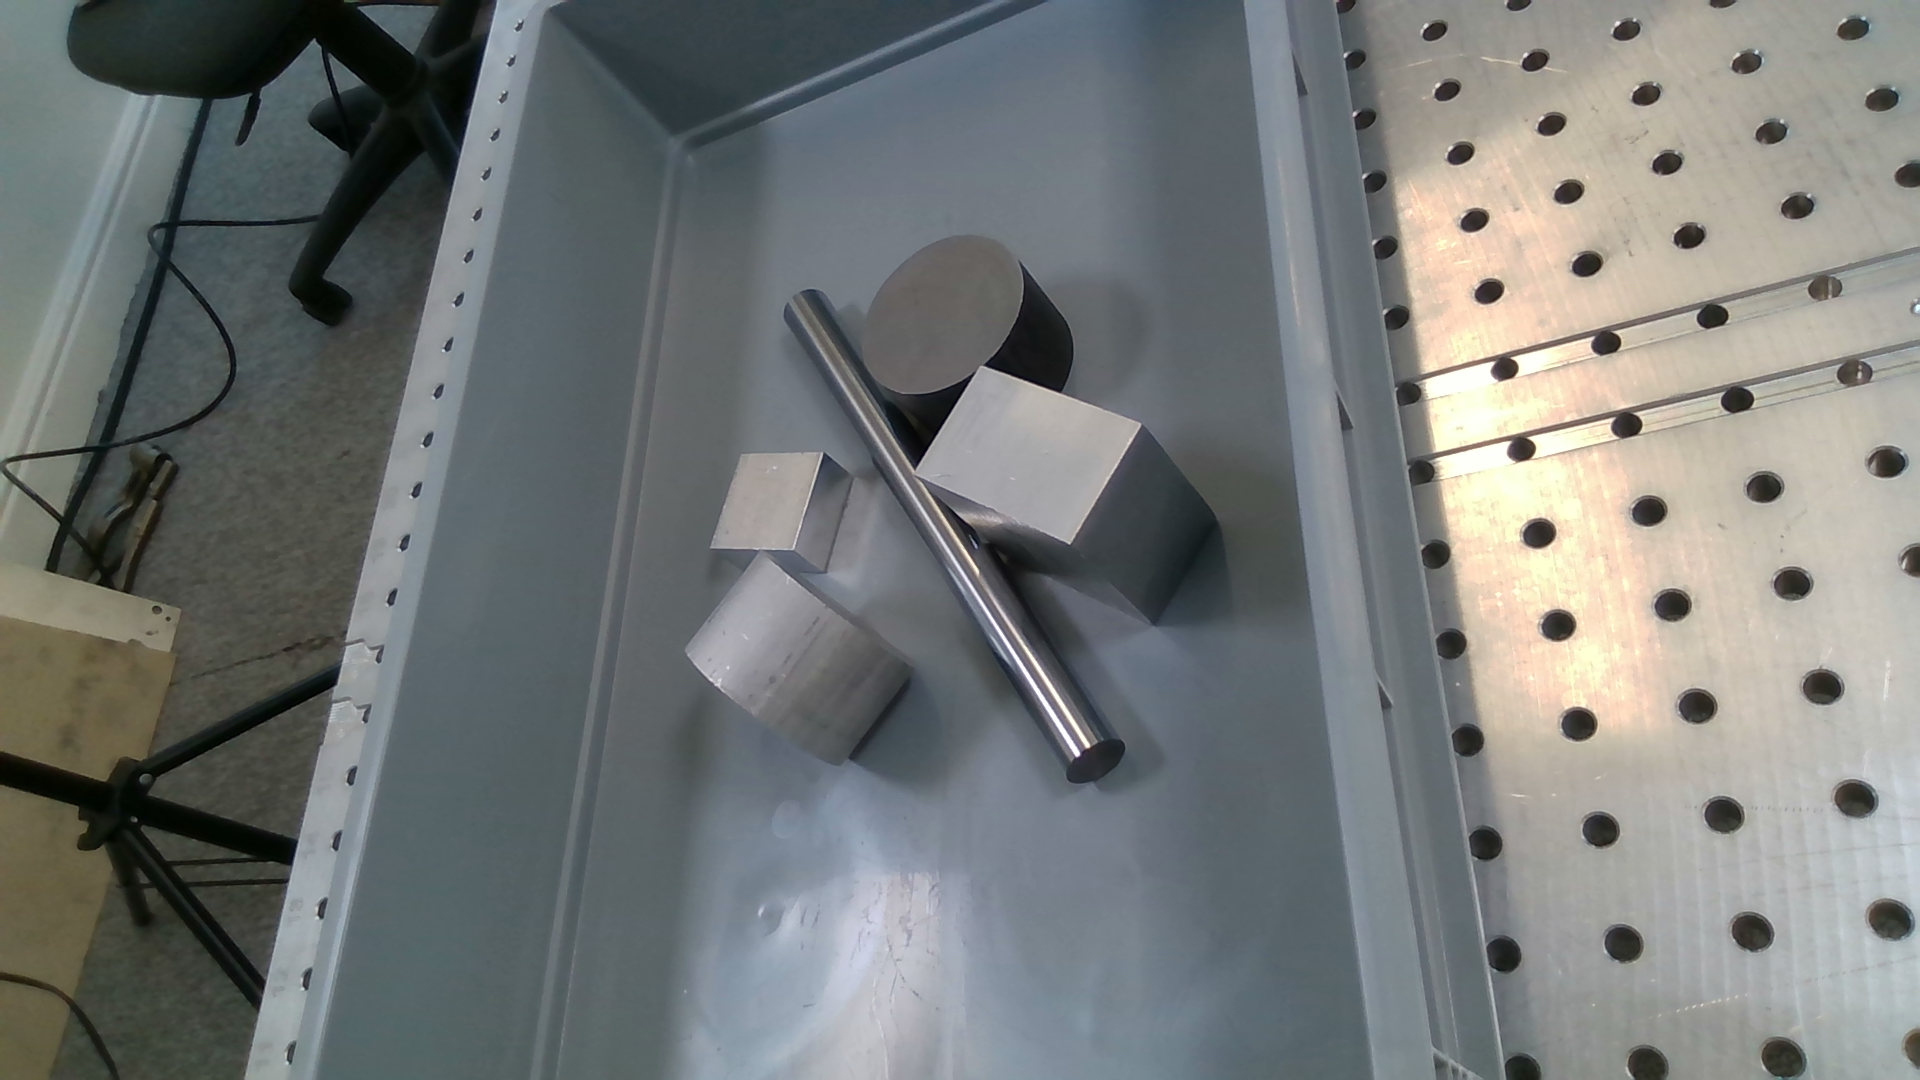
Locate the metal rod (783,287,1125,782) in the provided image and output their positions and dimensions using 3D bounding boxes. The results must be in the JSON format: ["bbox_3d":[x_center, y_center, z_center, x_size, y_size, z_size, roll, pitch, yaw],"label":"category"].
[{"bbox_3d":[-0.014,-0.018,0.602,0.025,0.025,0.299,-39,52,8],"label":"metal rod"}]

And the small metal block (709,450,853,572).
[{"bbox_3d":[-0.083,-0.013,0.643,0.050,0.025,0.050,1,66,32],"label":"small metal block"}]

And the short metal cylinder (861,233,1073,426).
[{"bbox_3d":[0.003,-0.088,0.613,0.080,0.050,0.080,-14,59,25],"label":"short metal cylinder"}]

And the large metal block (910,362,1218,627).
[{"bbox_3d":[0.041,-0.017,0.533,0.080,0.080,0.050,25,80,38],"label":"large metal block"}]

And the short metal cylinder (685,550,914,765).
[{"bbox_3d":[-0.065,0.048,0.564,0.080,0.080,0.050,34,86,39],"label":"short metal cylinder"}]
